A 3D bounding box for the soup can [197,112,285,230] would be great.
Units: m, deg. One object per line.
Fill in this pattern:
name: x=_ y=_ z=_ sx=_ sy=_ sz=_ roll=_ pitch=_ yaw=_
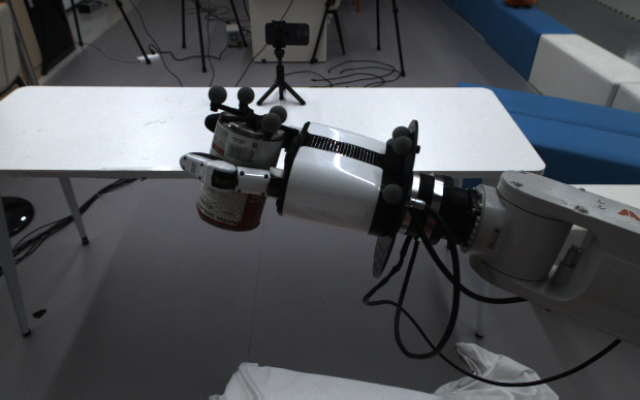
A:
soup can: x=-0.078 y=-0.029 z=0.484 sx=0.067 sy=0.101 sz=0.067 roll=16 pitch=21 yaw=-7
